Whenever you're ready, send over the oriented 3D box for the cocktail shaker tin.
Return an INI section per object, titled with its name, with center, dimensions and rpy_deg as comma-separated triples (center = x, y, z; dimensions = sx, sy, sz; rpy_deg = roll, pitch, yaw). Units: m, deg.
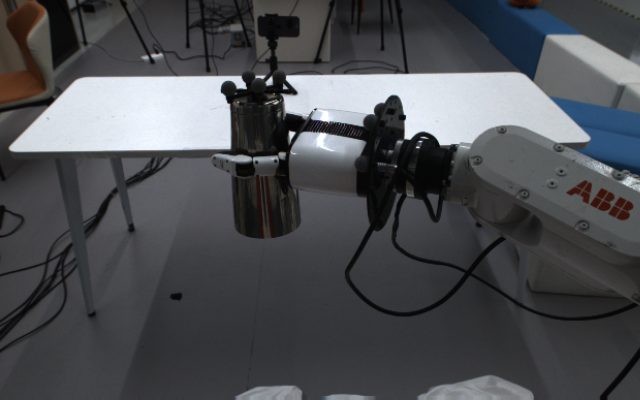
[cocktail shaker tin]
center = -0.072, -0.047, 0.623
dimensions = 0.093, 0.170, 0.093
rpy_deg = -2, 26, 1
